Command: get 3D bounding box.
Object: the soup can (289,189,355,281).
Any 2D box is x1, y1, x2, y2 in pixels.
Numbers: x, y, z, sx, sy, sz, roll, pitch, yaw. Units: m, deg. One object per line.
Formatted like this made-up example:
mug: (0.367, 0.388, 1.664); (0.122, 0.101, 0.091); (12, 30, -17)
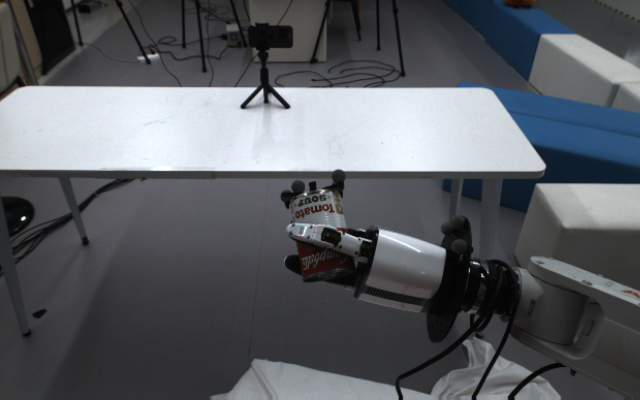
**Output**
soup can: (0.004, 0.044, 0.602); (0.067, 0.067, 0.101); (-8, 74, -14)
